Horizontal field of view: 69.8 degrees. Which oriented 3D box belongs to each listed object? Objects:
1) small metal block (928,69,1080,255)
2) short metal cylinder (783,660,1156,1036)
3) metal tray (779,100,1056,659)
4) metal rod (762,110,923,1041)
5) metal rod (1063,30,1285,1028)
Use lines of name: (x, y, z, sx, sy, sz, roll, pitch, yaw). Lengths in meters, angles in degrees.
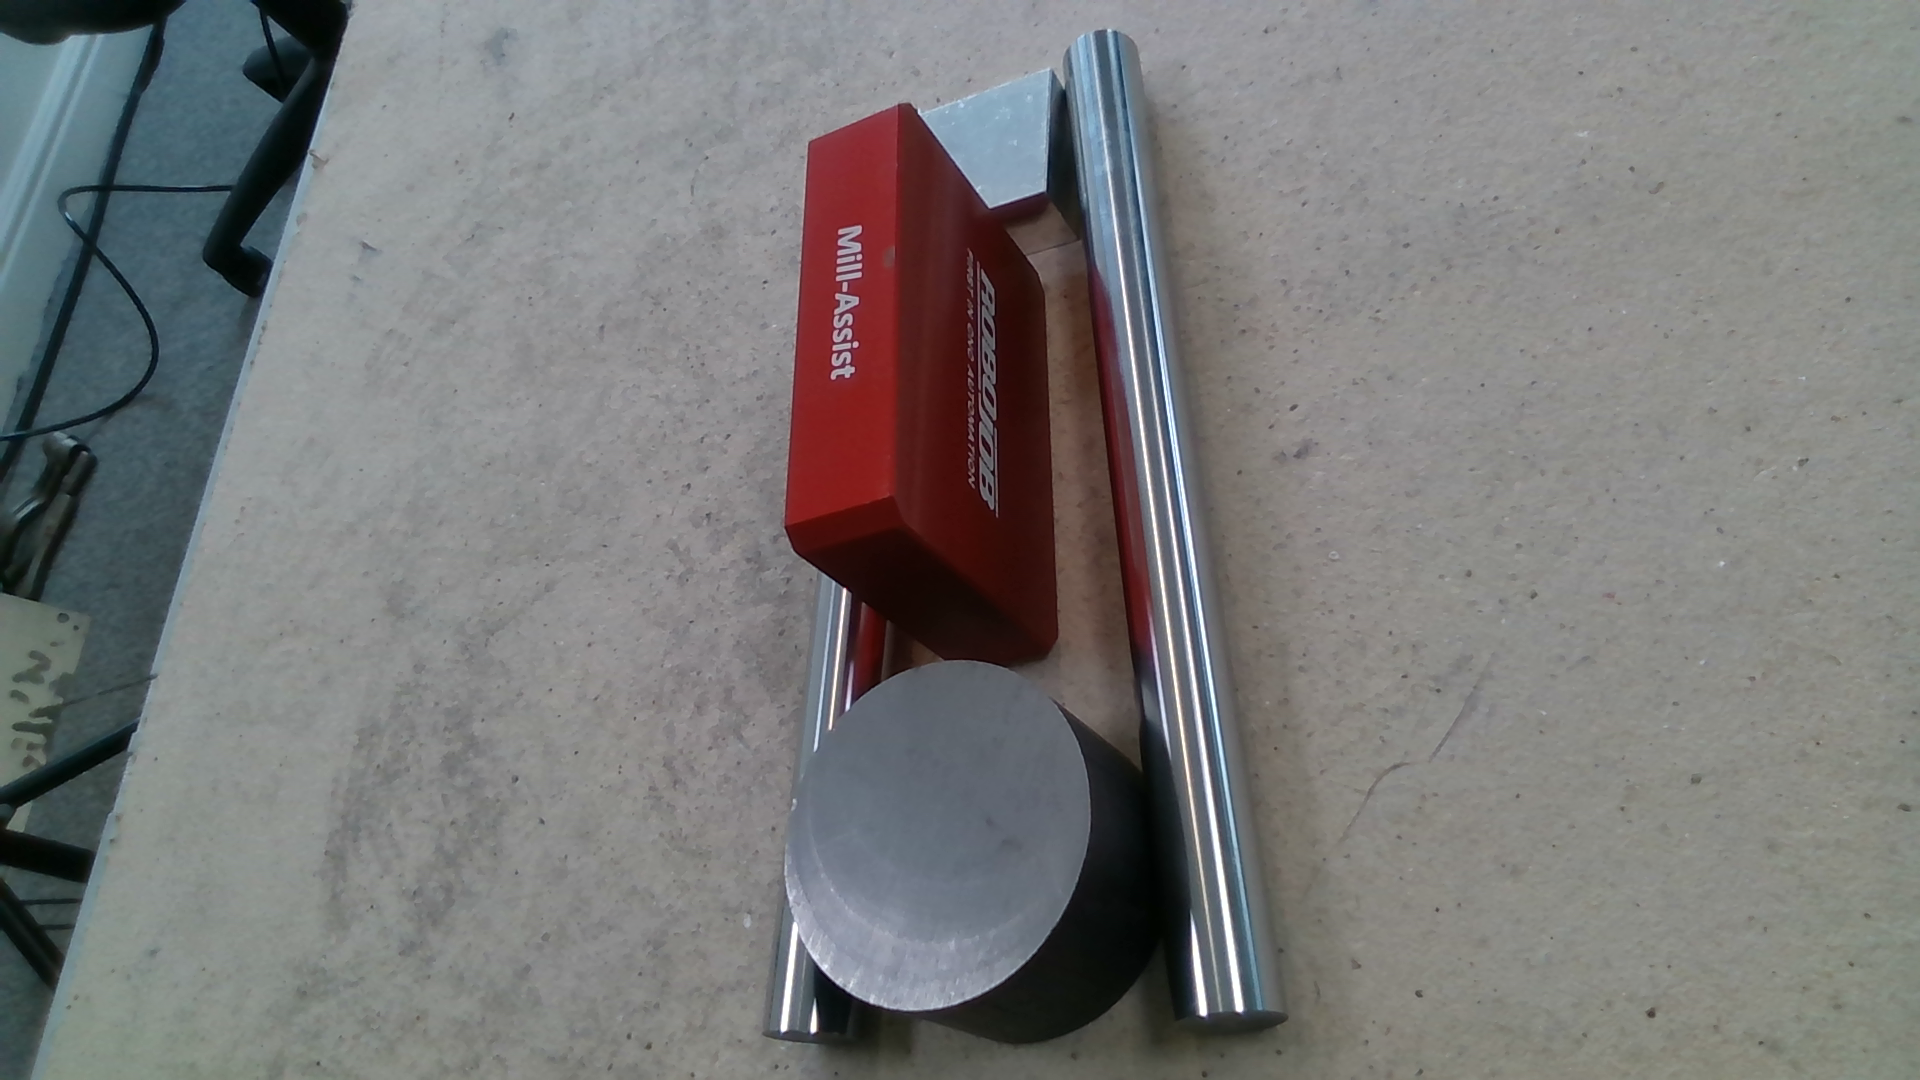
small metal block: (0.012, -0.119, 0.450, 0.050, 0.025, 0.050, -10, 61, 27)
short metal cylinder: (0.004, 0.075, 0.334, 0.080, 0.050, 0.080, -14, 59, 25)
metal tray: (-0.008, -0.041, 0.376, 0.030, 0.090, 0.130, -14, 58, 25)
metal rod: (-0.029, -0.008, 0.415, 0.025, 0.025, 0.299, -10, 61, 27)
metal rod: (0.052, -0.025, 0.375, 0.025, 0.025, 0.299, -17, 58, 24)
